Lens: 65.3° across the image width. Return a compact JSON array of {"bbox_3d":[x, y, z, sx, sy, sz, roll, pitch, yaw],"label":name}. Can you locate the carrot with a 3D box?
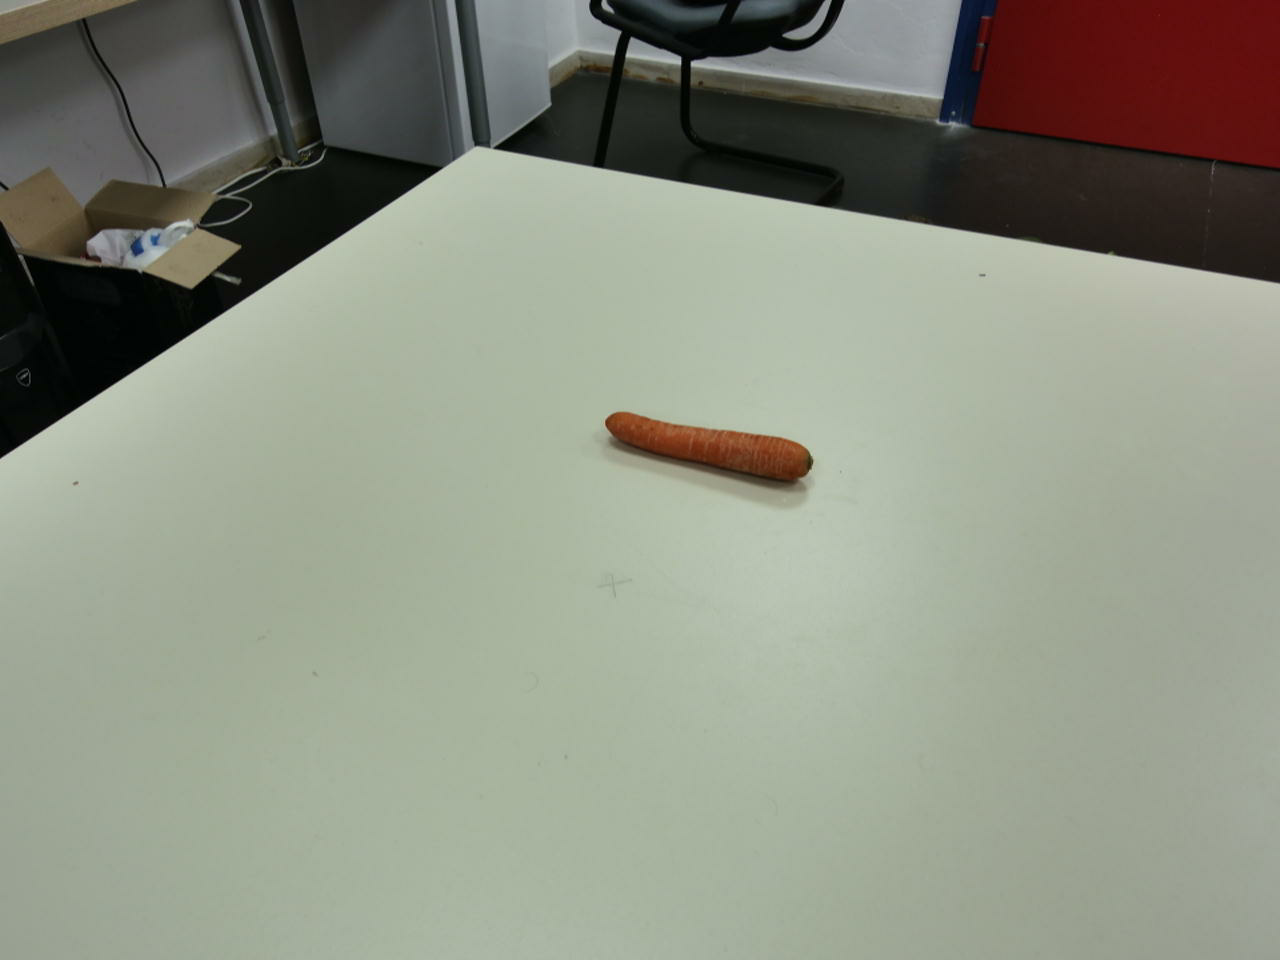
[{"bbox_3d":[0.037,-0.021,0.563,0.122,0.023,0.024,14,40,18],"label":"carrot"}]
